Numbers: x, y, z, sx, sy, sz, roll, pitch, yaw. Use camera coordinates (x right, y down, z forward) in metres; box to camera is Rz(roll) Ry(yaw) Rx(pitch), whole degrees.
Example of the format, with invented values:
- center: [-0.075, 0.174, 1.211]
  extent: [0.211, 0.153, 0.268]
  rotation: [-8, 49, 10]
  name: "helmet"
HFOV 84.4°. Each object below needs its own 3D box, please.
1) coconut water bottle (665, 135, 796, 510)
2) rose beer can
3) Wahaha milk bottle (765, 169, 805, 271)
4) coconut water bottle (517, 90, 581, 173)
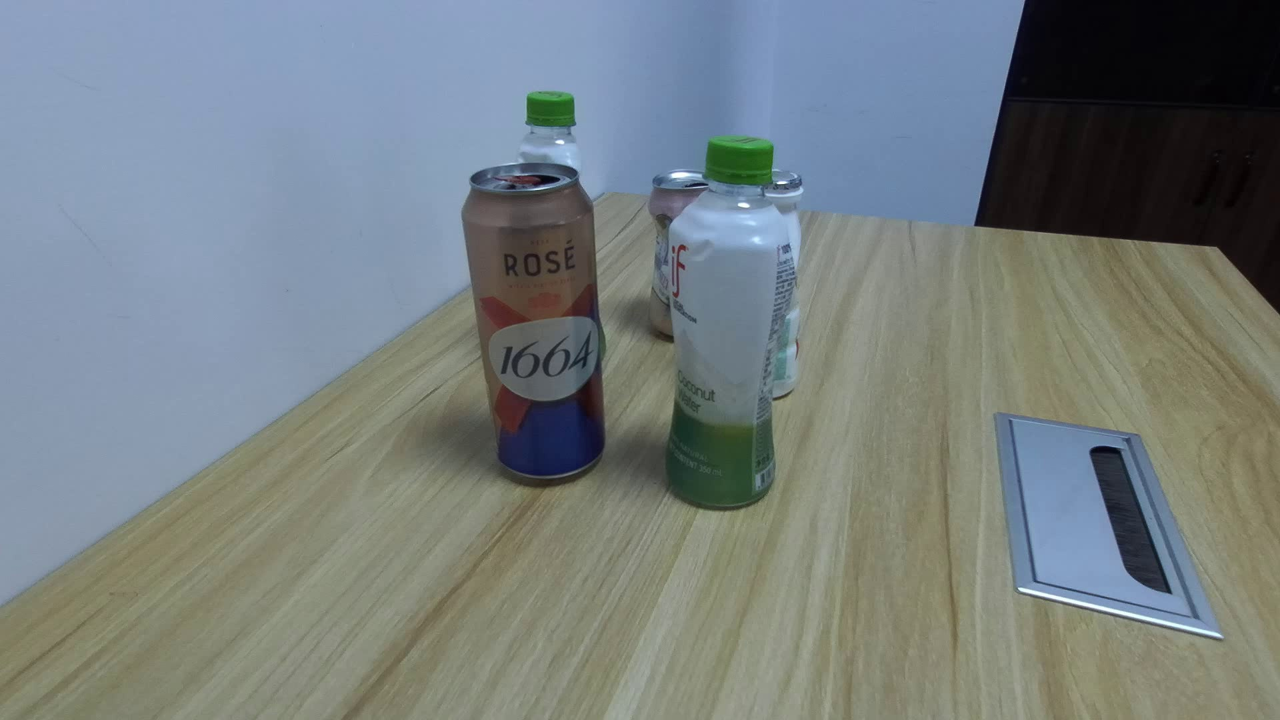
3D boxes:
- center: [0.045, -0.017, 0.362]
  extent: [0.069, 0.187, 0.069]
  rotation: [-1, 27, 1]
  name: "coconut water bottle"
- center: [-0.055, -0.017, 0.393]
  extent: [0.068, 0.169, 0.068]
  rotation: [0, 28, 0]
  name: "rose beer can"
- center: [0.084, -0.046, 0.460]
  extent: [0.056, 0.148, 0.056]
  rotation: [-1, 28, 1]
  name: "Wahaha milk bottle"
- center: [-0.065, -0.098, 0.509]
  extent: [0.067, 0.187, 0.067]
  rotation: [3, 39, -2]
  name: "coconut water bottle"
